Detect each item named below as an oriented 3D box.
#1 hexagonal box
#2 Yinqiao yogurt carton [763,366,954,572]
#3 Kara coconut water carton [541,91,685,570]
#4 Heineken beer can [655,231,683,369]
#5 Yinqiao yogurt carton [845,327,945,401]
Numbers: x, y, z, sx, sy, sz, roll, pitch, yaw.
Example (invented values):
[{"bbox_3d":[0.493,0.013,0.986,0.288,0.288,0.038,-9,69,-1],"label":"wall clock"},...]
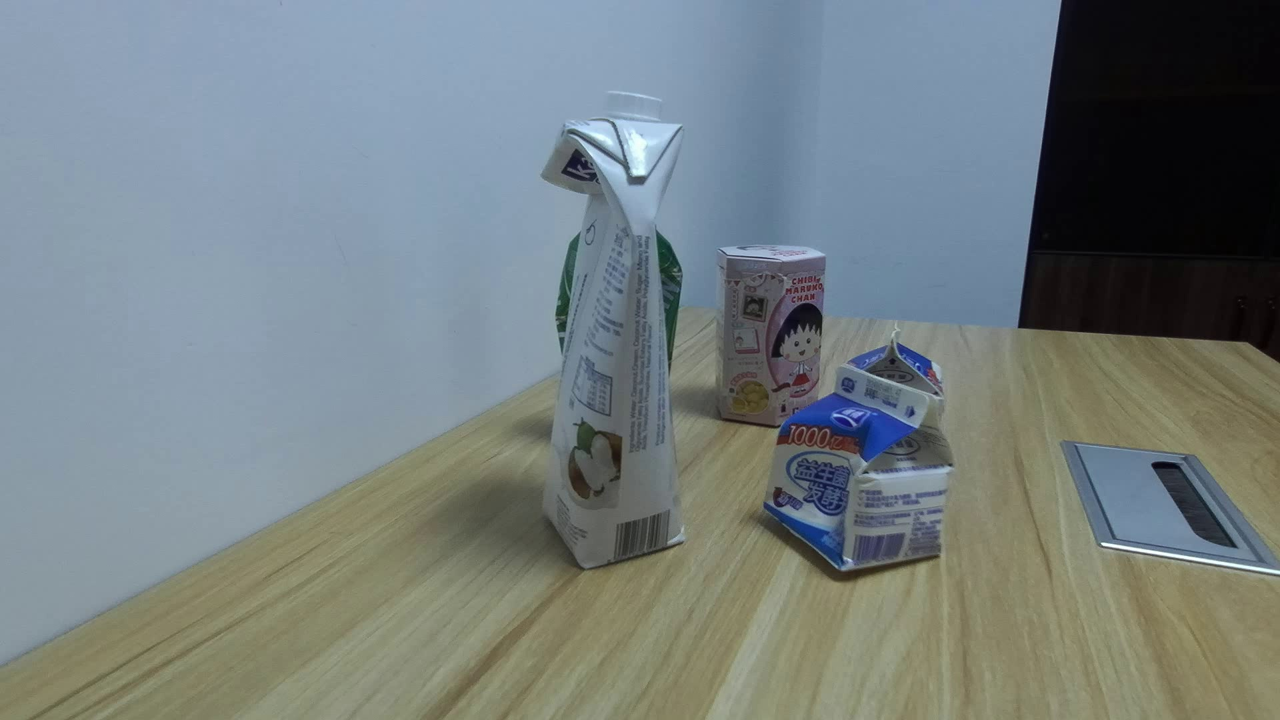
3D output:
[{"bbox_3d":[0.106,-0.022,0.577,0.091,0.136,0.083,-10,18,-31],"label":"hexagonal box"},{"bbox_3d":[0.121,0.054,0.381,0.071,0.094,0.077,-1,15,-23],"label":"Yinqiao yogurt carton"},{"bbox_3d":[-0.014,-0.016,0.375,0.069,0.238,0.114,-6,17,-23],"label":"Kara coconut water carton"},{"bbox_3d":[-0.017,-0.015,0.521,0.066,0.164,0.077,-8,14,-39],"label":"Heineken beer can"},{"bbox_3d":[0.183,0.020,0.514,0.073,0.092,0.076,5,16,22],"label":"Yinqiao yogurt carton"}]
